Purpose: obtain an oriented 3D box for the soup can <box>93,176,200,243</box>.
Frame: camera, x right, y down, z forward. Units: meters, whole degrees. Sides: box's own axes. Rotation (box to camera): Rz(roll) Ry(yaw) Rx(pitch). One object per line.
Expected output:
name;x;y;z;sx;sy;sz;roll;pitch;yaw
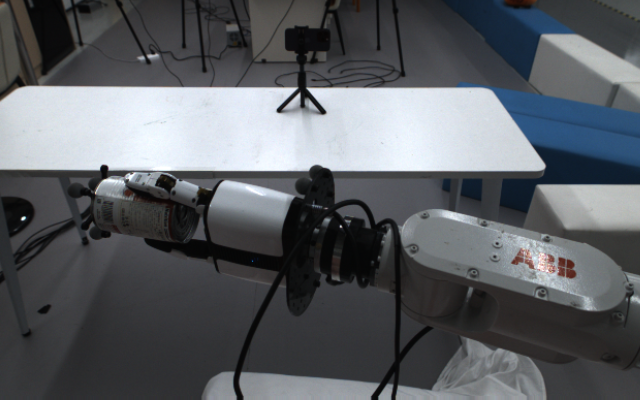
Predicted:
soup can;-0.197;0.012;0.559;0.101;0.067;0.067;8;35;9
